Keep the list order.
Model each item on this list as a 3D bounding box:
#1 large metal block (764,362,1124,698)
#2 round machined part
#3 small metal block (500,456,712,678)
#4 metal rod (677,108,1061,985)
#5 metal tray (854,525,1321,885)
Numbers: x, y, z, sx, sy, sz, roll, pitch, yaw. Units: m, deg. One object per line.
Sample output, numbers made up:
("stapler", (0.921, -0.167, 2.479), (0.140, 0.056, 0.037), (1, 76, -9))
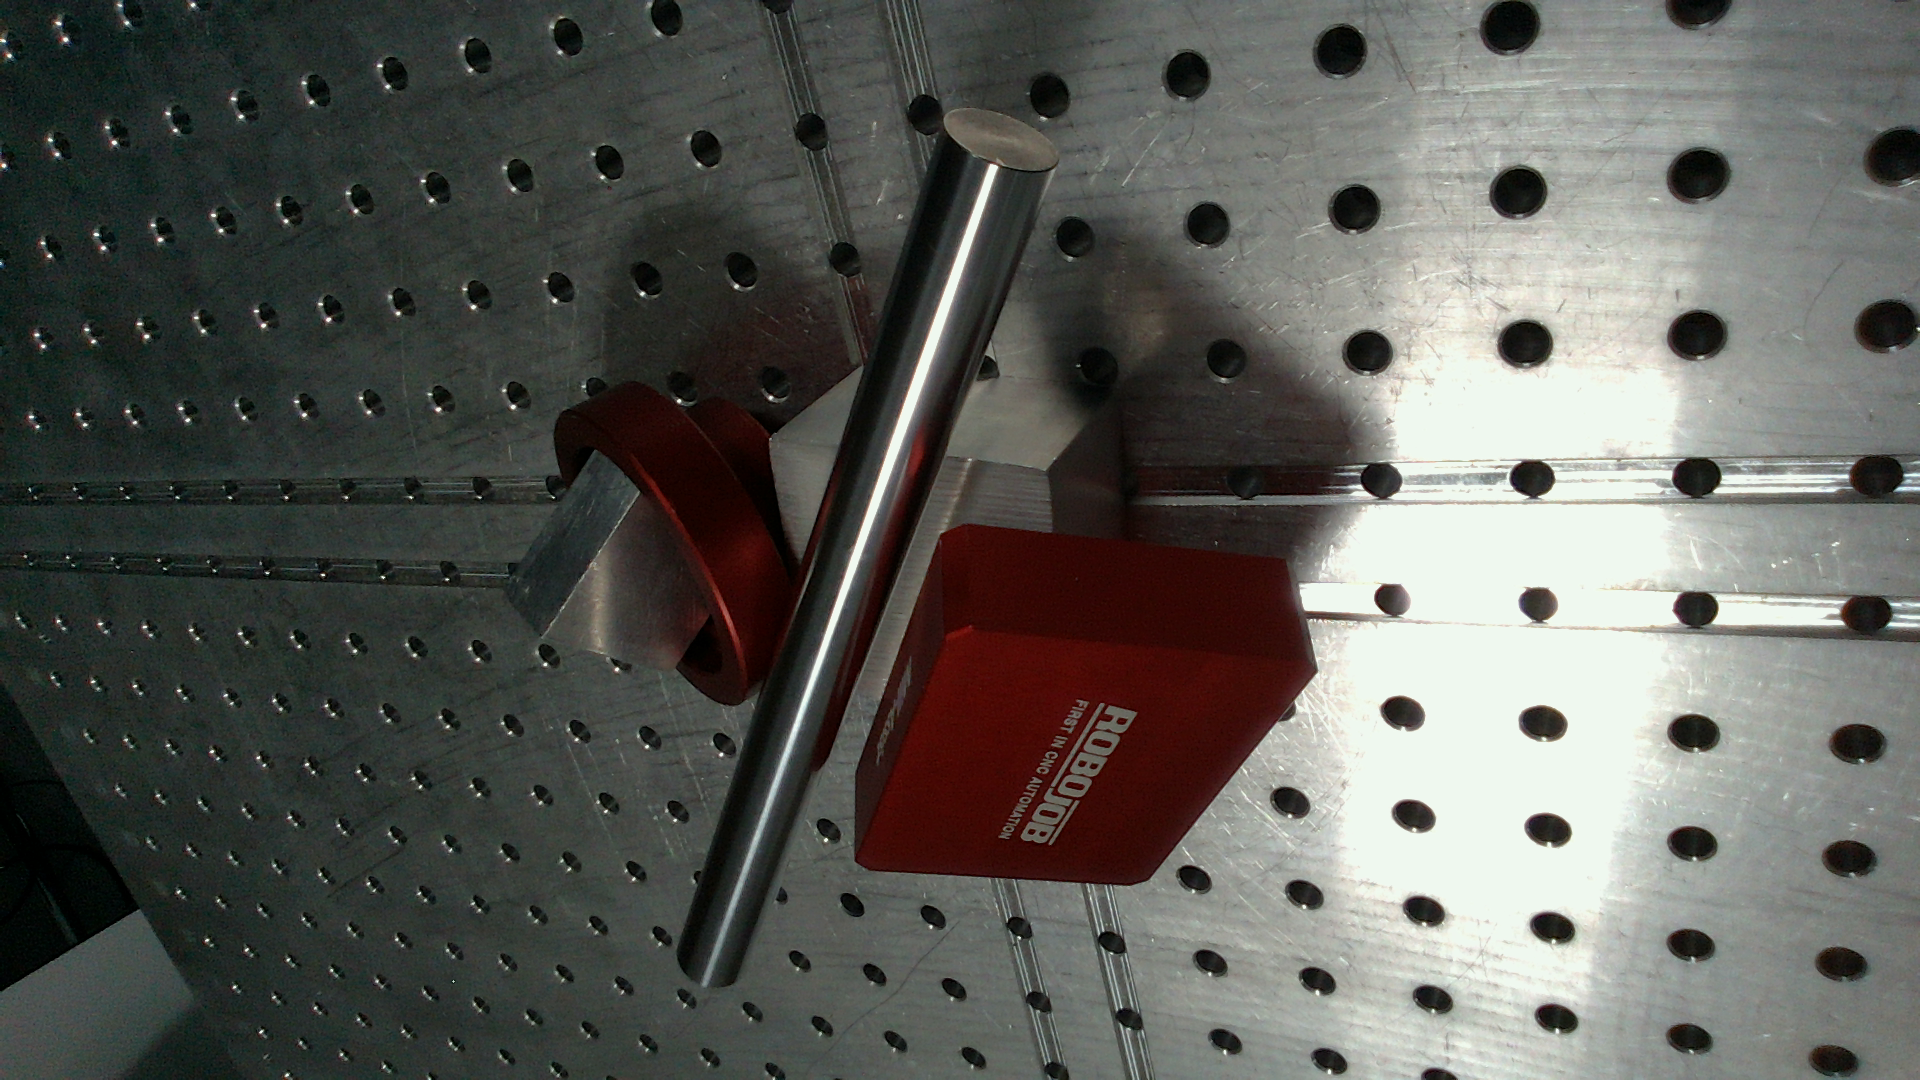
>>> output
("large metal block", (-0.001, 0.000, 0.380), (0.080, 0.050, 0.080), (9, 122, 24))
("round machined part", (-0.076, -0.003, 0.407), (0.098, 0.042, 0.098), (38, 146, 32))
("small metal block", (-0.095, 0.008, 0.399), (0.025, 0.050, 0.050), (38, 96, 36))
("metal rod", (-0.037, 0.029, 0.368), (0.025, 0.025, 0.299), (30, 128, 9))
("metal tray", (0.026, 0.050, 0.366), (0.090, 0.030, 0.130), (6, 142, -12))
